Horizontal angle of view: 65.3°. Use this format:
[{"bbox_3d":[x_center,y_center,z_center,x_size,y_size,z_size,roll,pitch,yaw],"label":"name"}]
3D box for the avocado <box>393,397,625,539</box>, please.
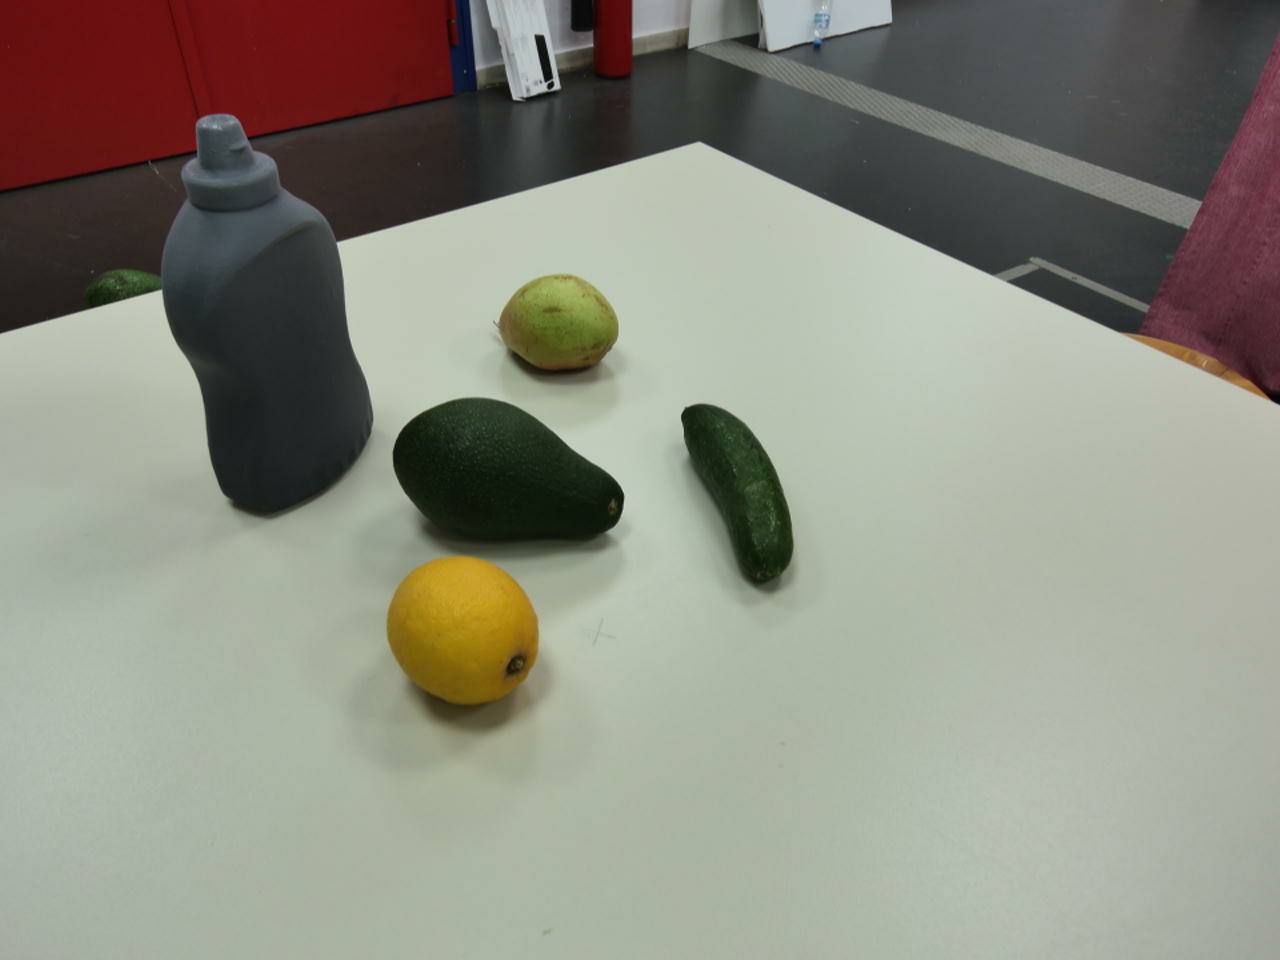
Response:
[{"bbox_3d":[-0.068,-0.003,0.499,0.110,0.071,0.072,19,41,22],"label":"avocado"}]
